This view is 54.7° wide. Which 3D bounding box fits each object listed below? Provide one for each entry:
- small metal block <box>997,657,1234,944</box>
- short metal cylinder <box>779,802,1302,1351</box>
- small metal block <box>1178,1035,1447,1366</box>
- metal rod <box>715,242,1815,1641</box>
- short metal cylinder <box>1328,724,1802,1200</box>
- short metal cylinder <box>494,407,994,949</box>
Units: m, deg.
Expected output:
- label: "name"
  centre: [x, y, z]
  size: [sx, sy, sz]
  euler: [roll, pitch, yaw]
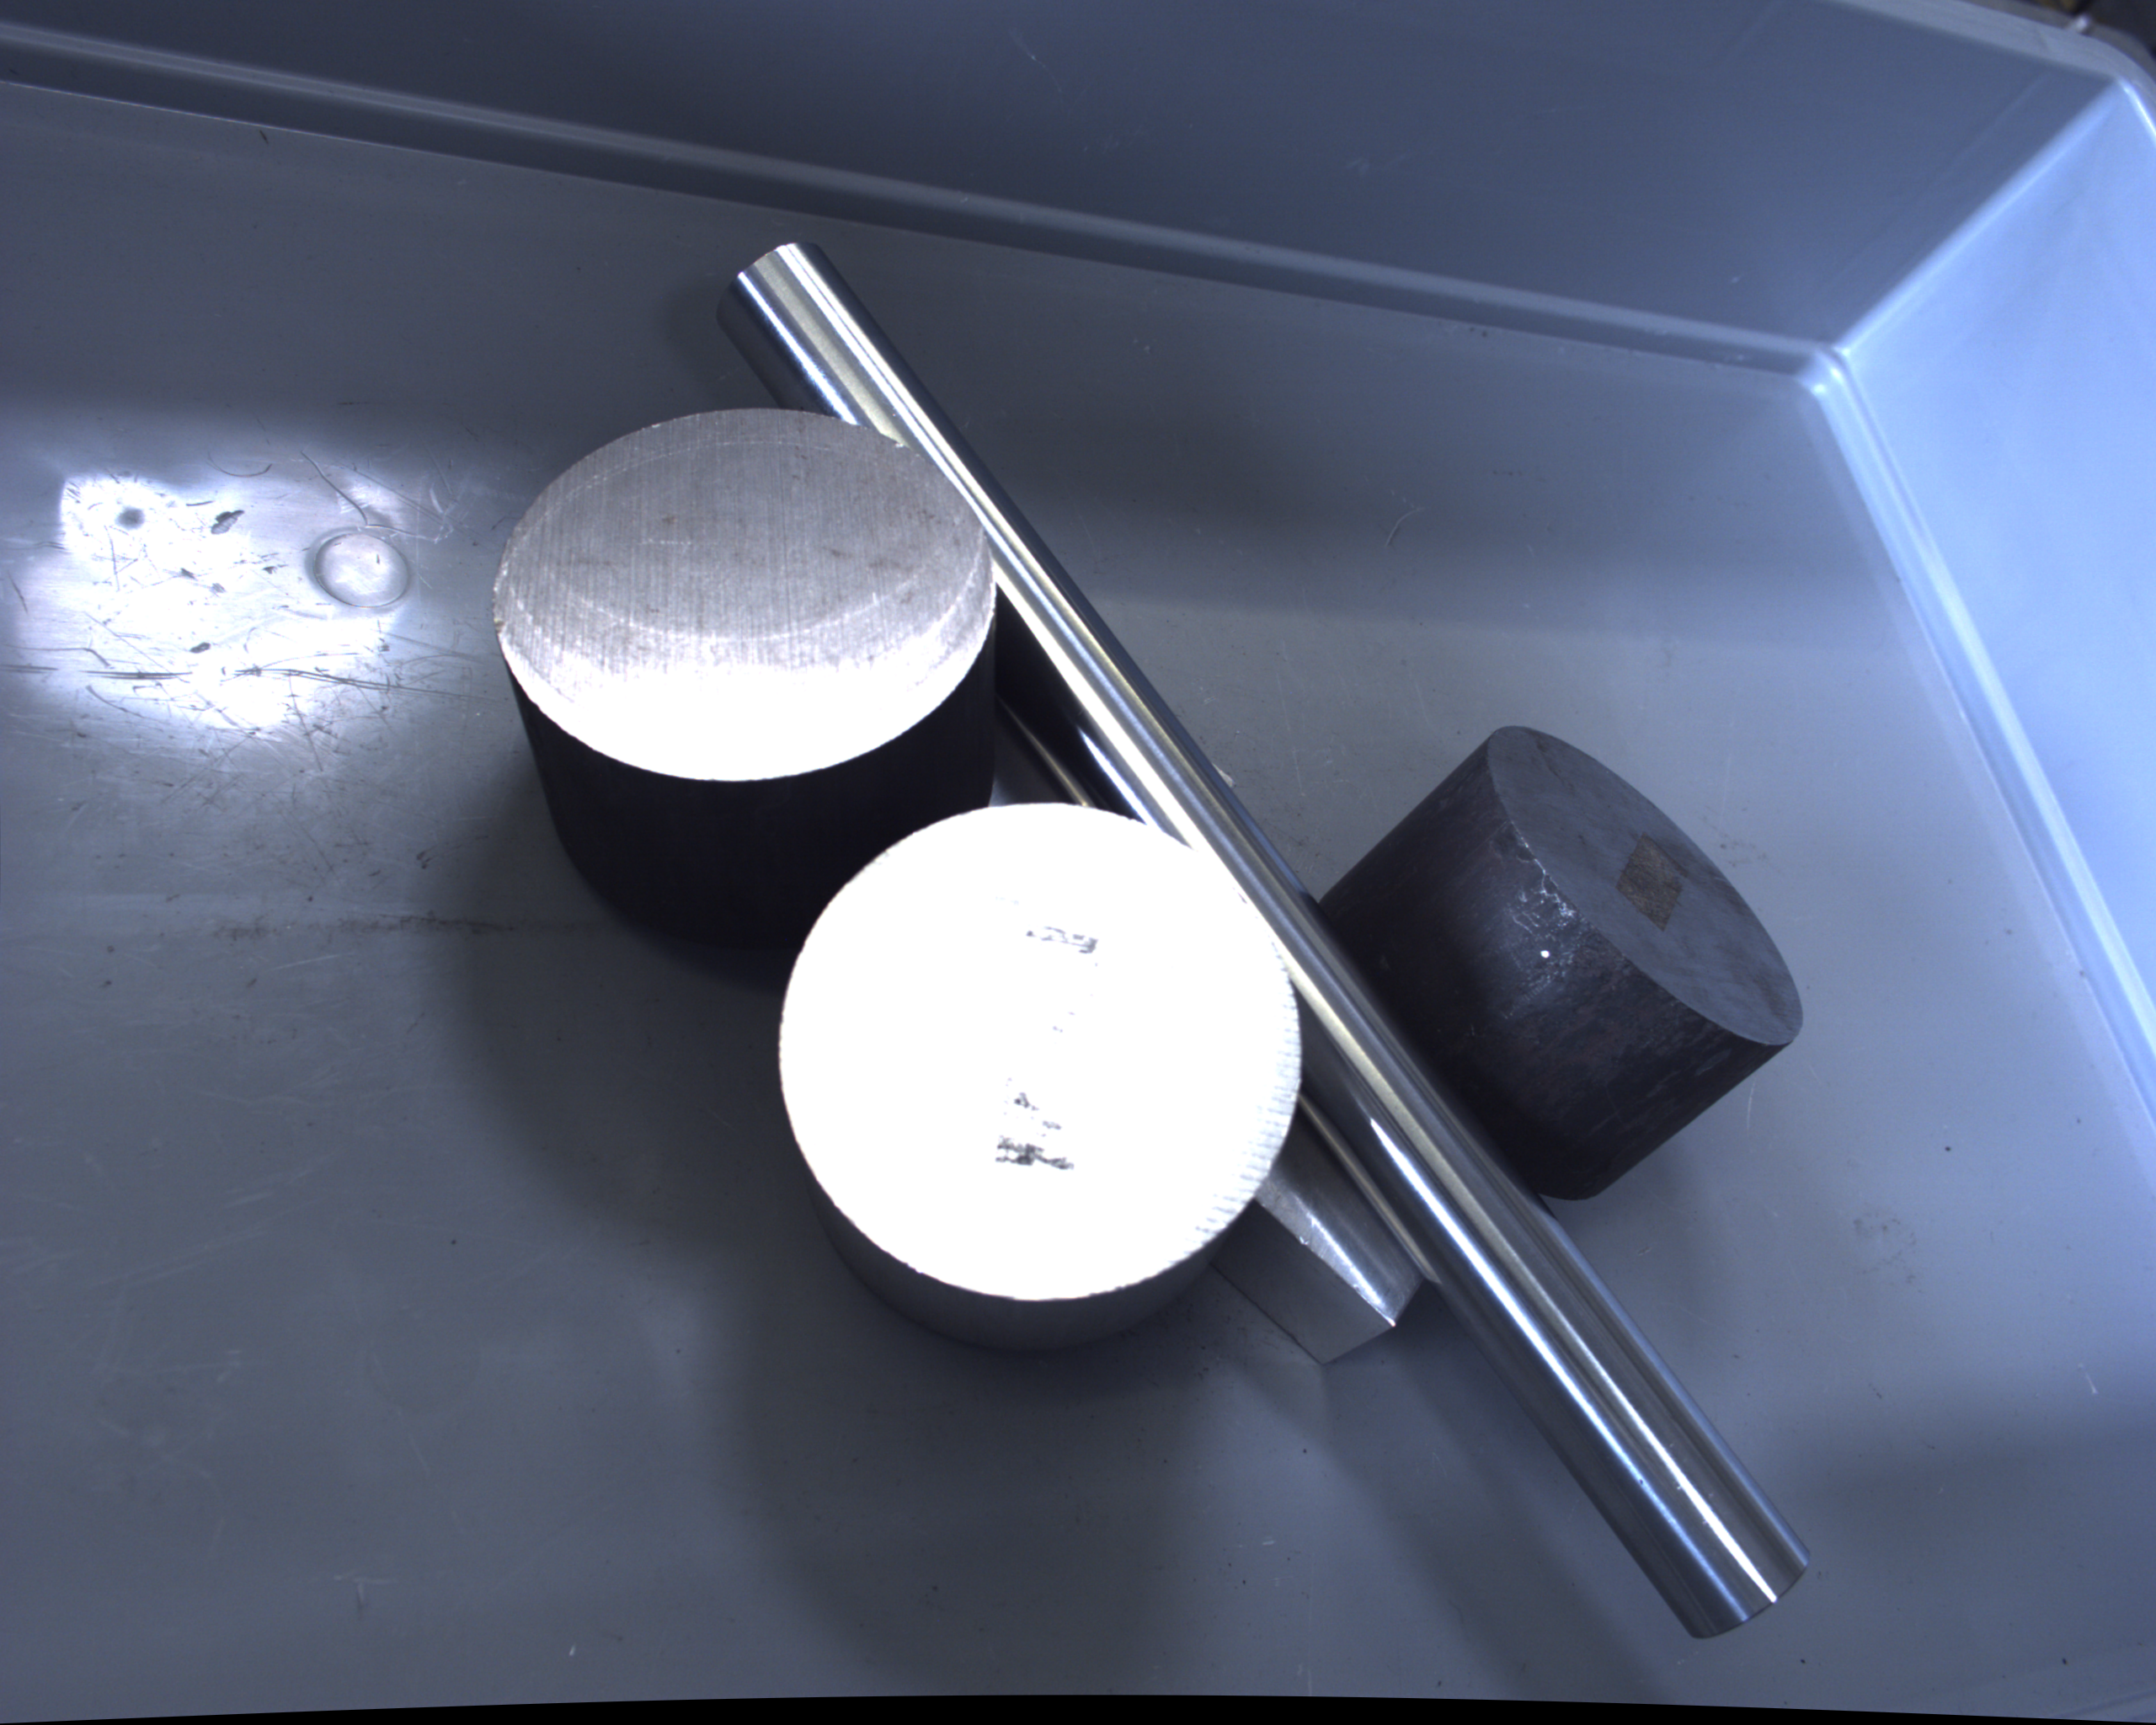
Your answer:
- label: "small metal block"
  centre: [-0.005, -0.011, 0.408]
  size: [0.050, 0.025, 0.050]
  euler: [40, 51, -1]
- label: "short metal cylinder"
  centre: [-0.007, 0.036, 0.344]
  size: [0.081, 0.050, 0.080]
  euler: [1, 68, -3]
- label: "small metal block"
  centre: [0.045, 0.057, 0.393]
  size: [0.050, 0.025, 0.050]
  euler: [42, 51, 1]
- label: "metal rod"
  centre: [0.027, 0.006, 0.382]
  size: [0.025, 0.025, 0.299]
  euler: [-29, 77, -37]
- label: "short metal cylinder"
  centre: [0.094, 0.019, 0.410]
  size: [0.080, 0.050, 0.080]
  euler: [32, 29, -20]
- label: "short metal cylinder"
  centre: [-0.055, -0.032, 0.360]
  size: [0.081, 0.050, 0.080]
  euler: [2, 56, -2]
